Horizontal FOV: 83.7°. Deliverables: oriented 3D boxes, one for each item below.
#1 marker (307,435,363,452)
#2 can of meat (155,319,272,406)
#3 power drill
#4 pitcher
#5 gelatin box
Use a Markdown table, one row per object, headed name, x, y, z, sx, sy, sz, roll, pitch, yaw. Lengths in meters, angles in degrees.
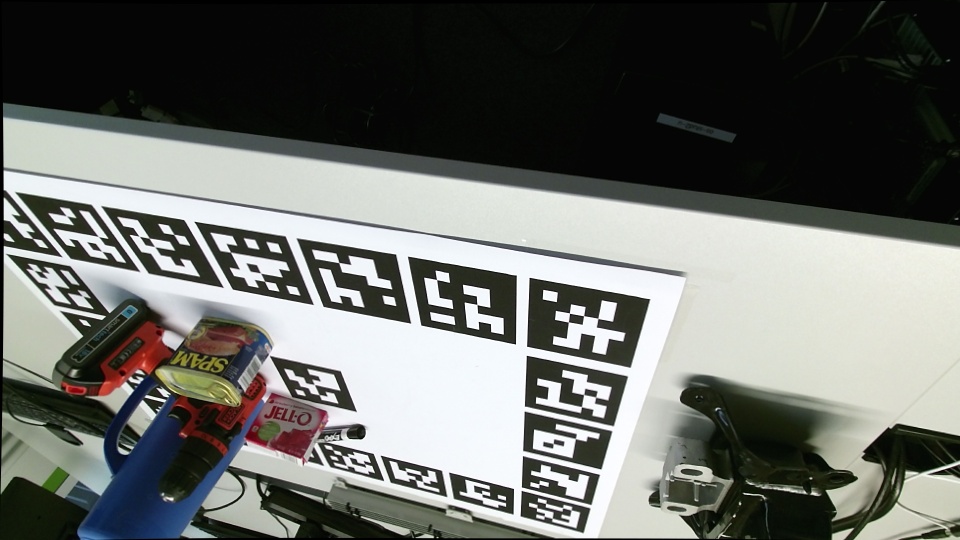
| name | x | y | z | sx | sy | sz | roll | pitch | yaw |
| --- | --- | --- | --- | --- | --- | --- | --- | --- | --- |
| marker | -0.224 | 0.262 | 0.805 | 0.121 | 0.019 | 0.020 | -14 | 125 | 29 |
| can of meat | -0.319 | 0.111 | 0.651 | 0.102 | 0.083 | 0.058 | 8 | 136 | 13 |
| power drill | -0.394 | 0.178 | 0.677 | 0.187 | 0.184 | 0.057 | 38 | 130 | -8 |
| pitcher | -0.444 | 0.261 | 0.741 | 0.189 | 0.241 | 0.133 | 28 | 132 | -16 |
| gelatin box | -0.284 | 0.229 | 0.763 | 0.089 | 0.073 | 0.030 | 18 | 131 | 6 |
